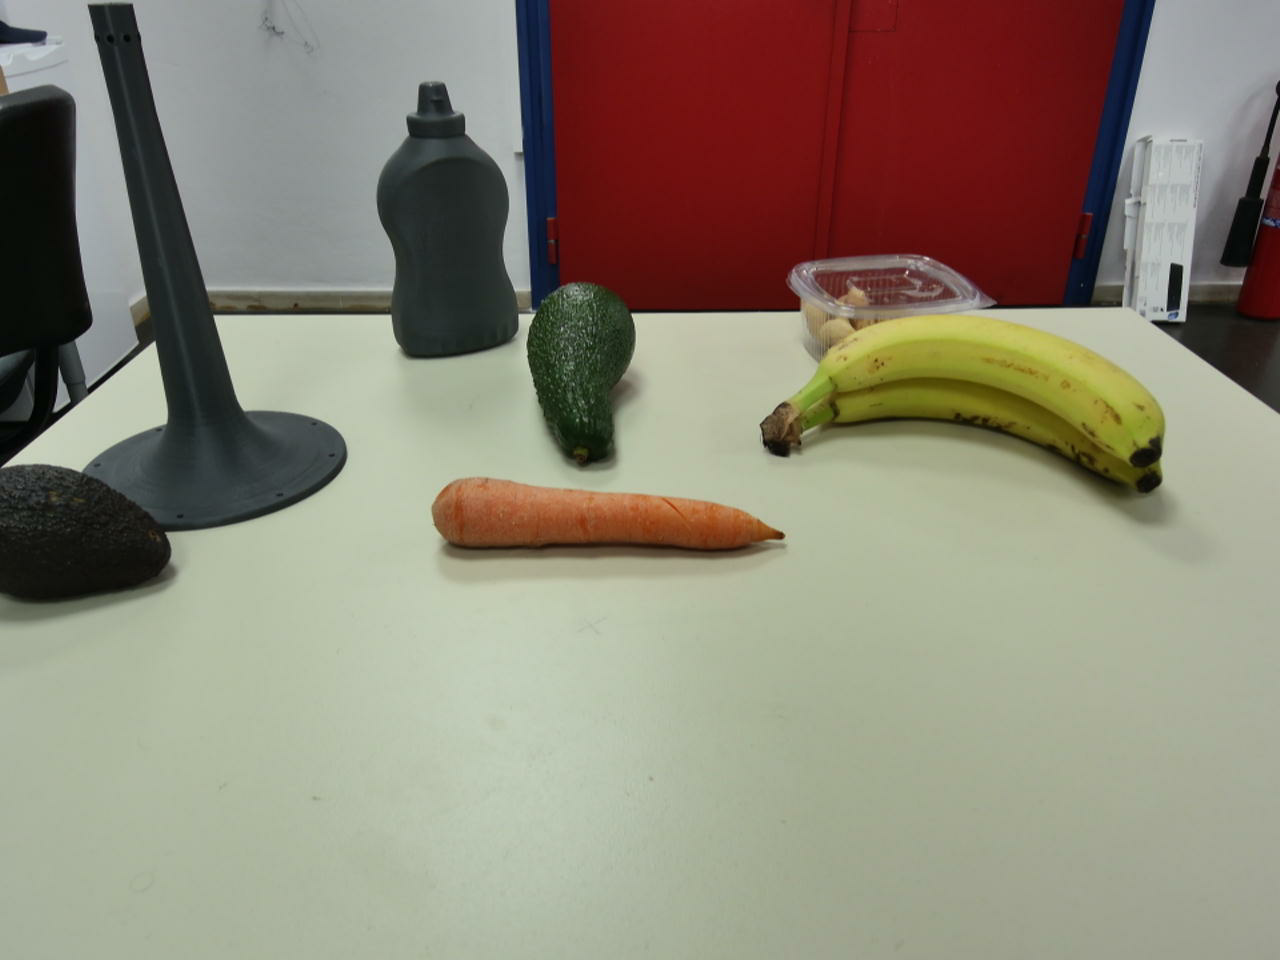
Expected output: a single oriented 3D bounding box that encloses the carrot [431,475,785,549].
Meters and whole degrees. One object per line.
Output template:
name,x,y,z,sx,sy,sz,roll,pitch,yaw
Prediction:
carrot,-0.017,0.018,0.554,0.196,0.041,0.039,0,26,0
